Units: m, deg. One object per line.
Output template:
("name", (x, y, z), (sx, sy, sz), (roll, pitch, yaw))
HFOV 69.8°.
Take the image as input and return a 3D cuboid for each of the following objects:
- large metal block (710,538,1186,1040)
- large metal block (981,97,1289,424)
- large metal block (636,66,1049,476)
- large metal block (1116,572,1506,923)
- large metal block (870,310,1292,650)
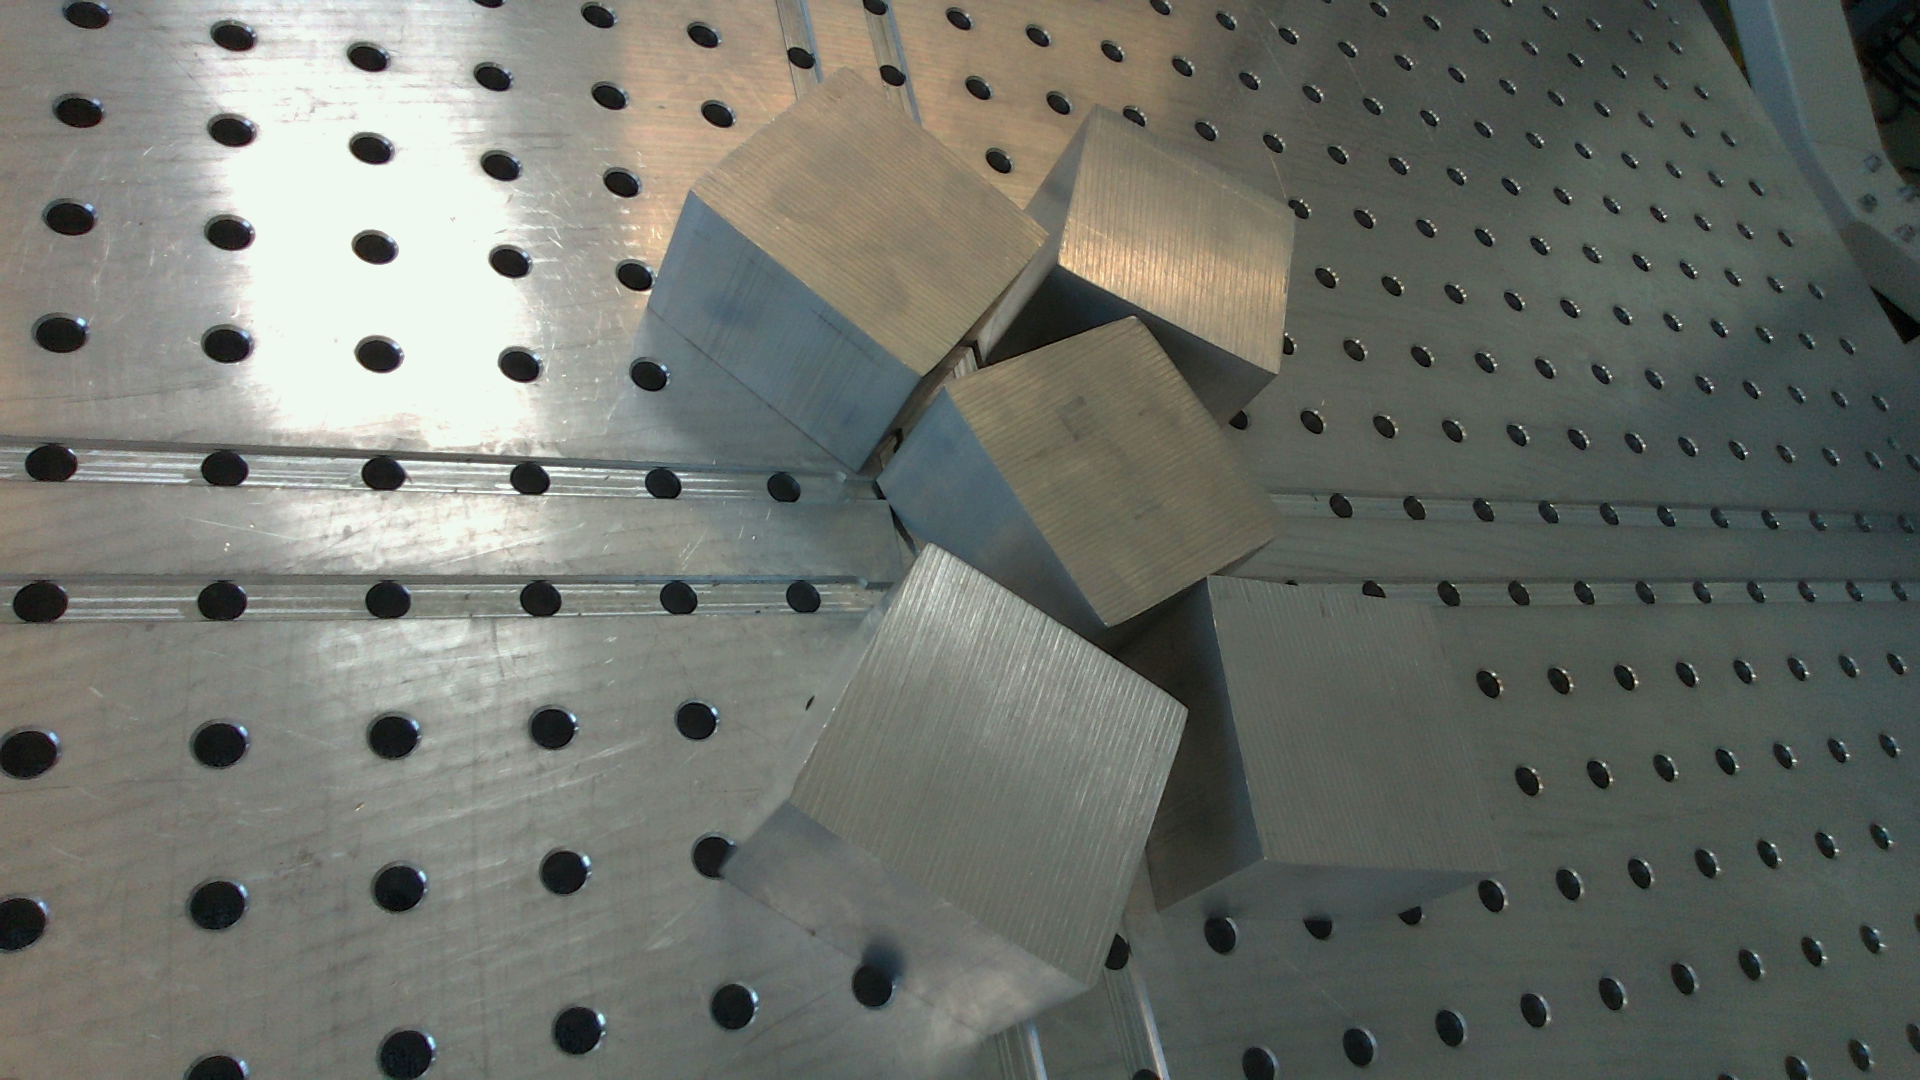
("large metal block", (-0.001, 0.061, 0.337), (0.080, 0.050, 0.080), (33, 51, -6))
("large metal block", (0.060, -0.087, 0.461), (0.080, 0.050, 0.080), (25, 53, -16))
("large metal block", (-0.034, -0.080, 0.407), (0.080, 0.050, 0.080), (39, 51, -1))
("large metal block", (0.096, 0.061, 0.390), (0.080, 0.050, 0.080), (9, 57, -24))
("large metal block", (0.035, -0.011, 0.401), (0.080, 0.050, 0.080), (-25, 75, -37))
